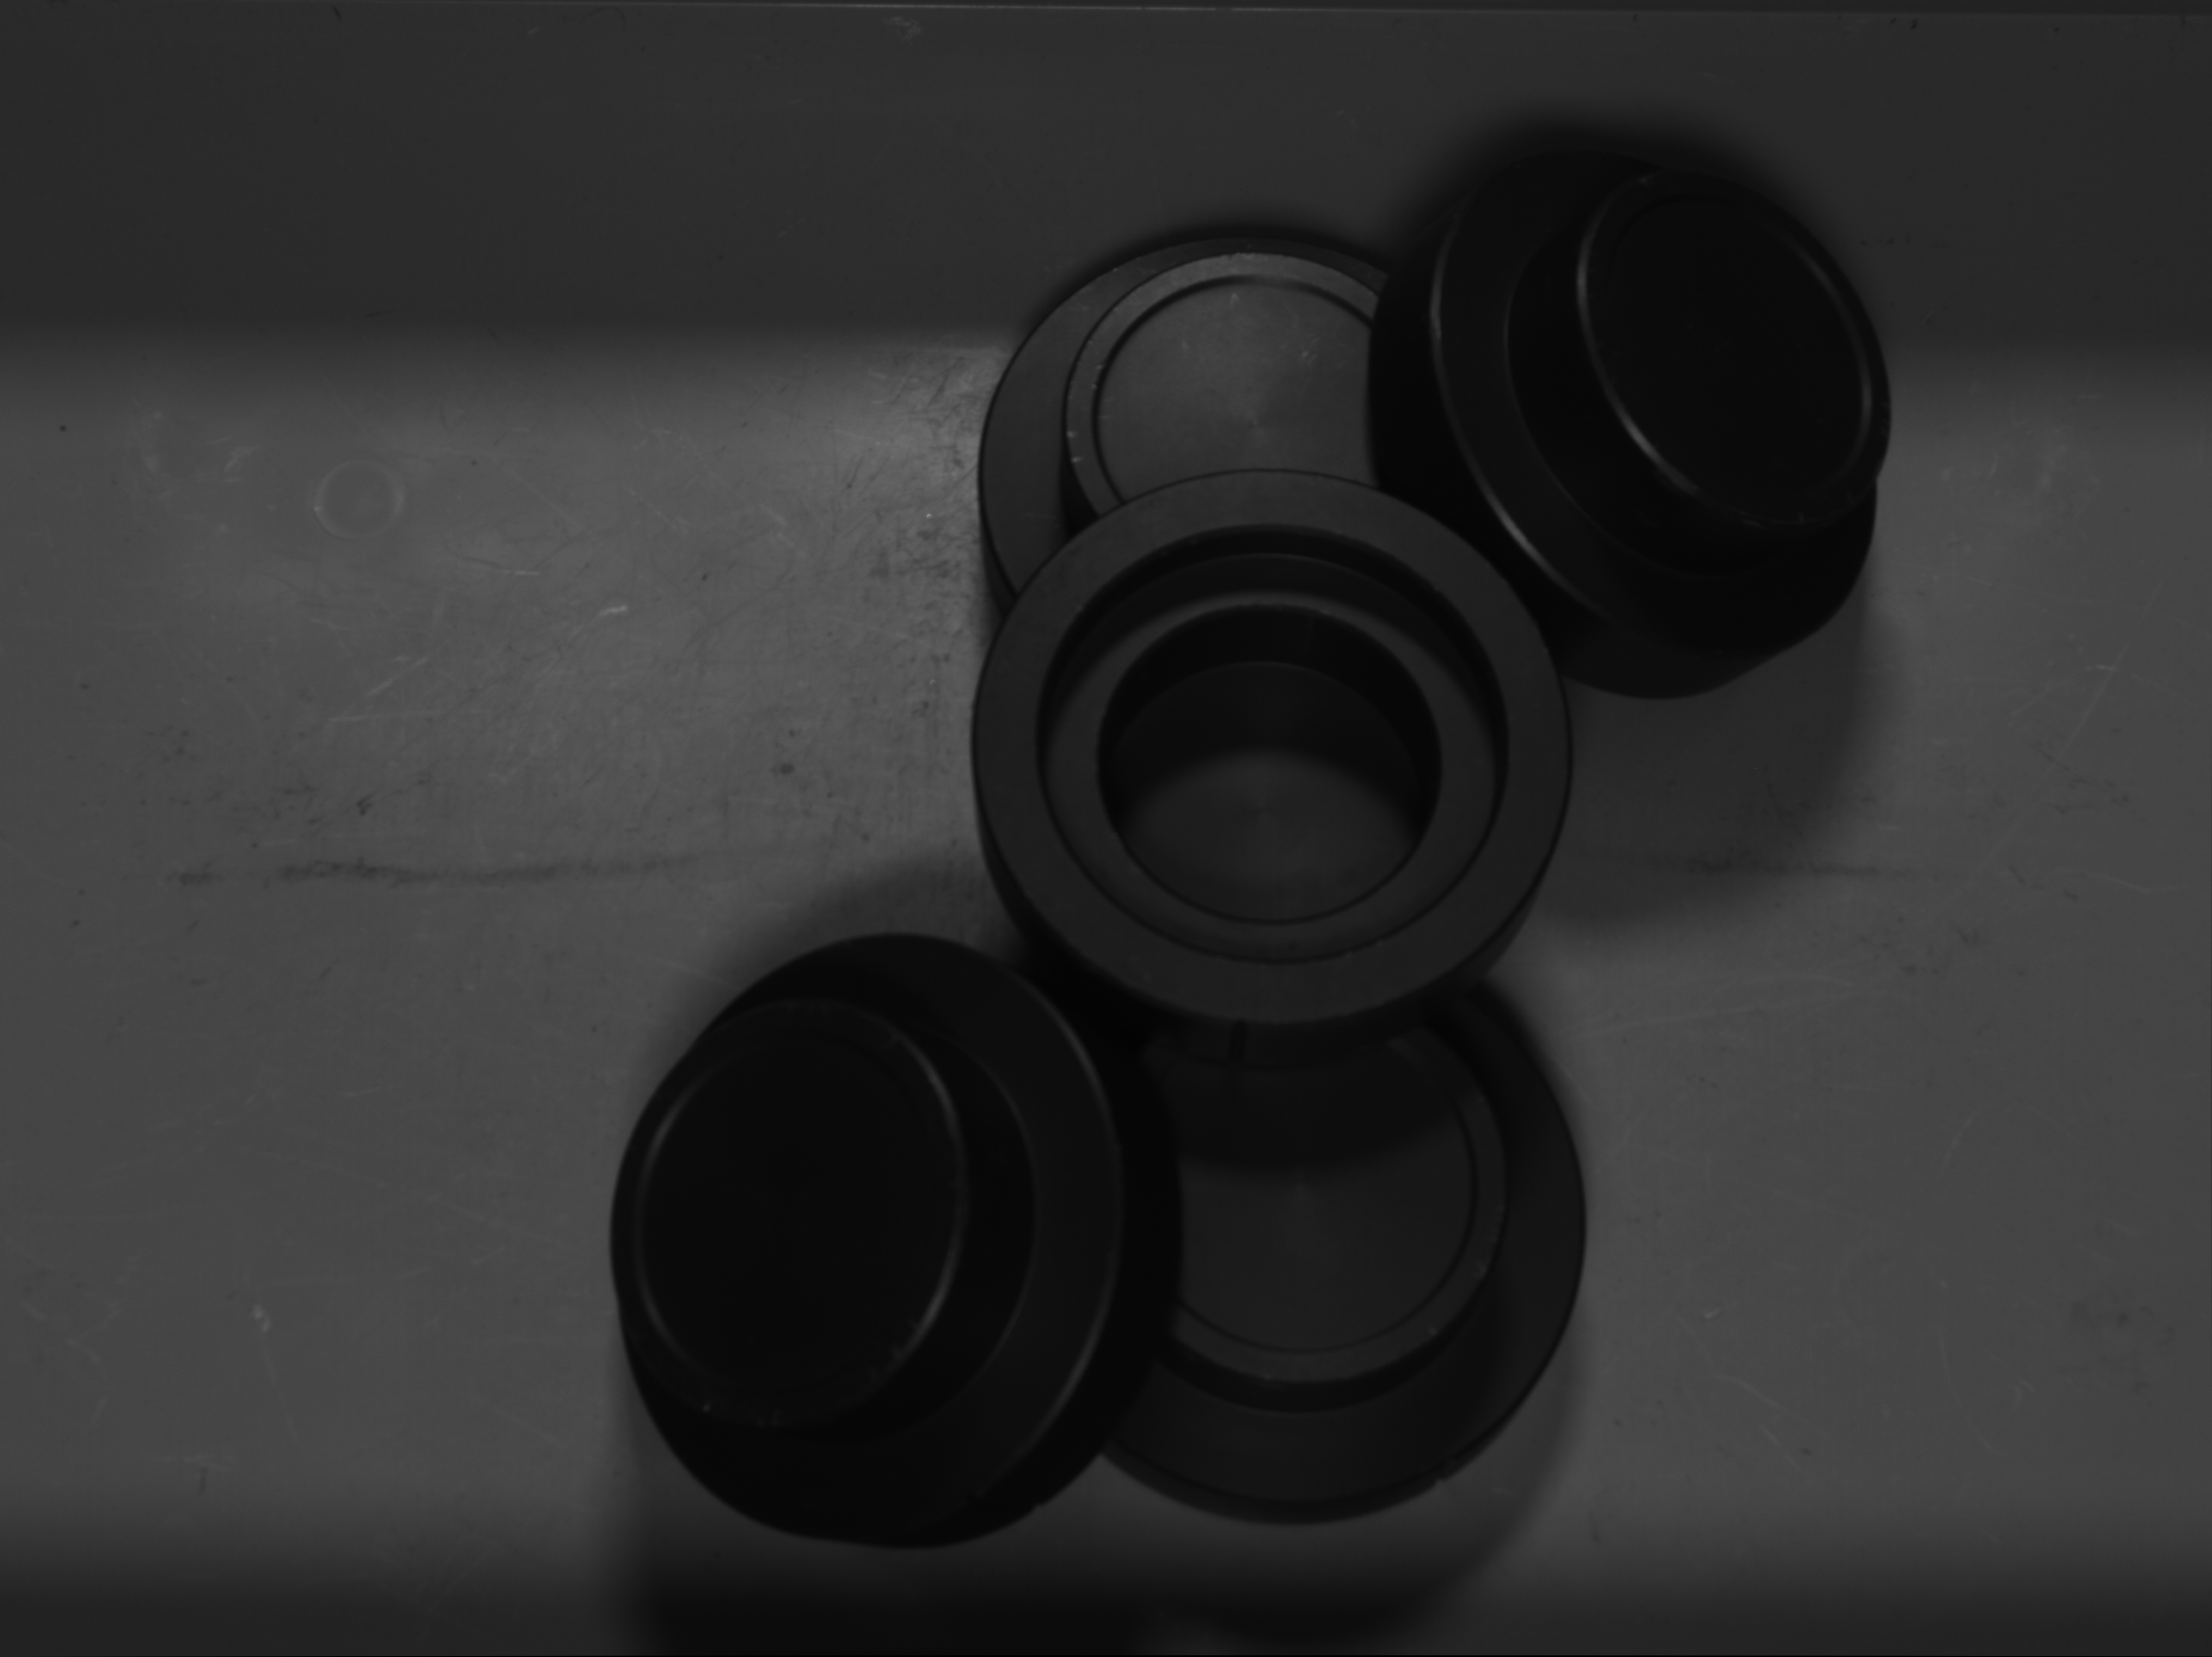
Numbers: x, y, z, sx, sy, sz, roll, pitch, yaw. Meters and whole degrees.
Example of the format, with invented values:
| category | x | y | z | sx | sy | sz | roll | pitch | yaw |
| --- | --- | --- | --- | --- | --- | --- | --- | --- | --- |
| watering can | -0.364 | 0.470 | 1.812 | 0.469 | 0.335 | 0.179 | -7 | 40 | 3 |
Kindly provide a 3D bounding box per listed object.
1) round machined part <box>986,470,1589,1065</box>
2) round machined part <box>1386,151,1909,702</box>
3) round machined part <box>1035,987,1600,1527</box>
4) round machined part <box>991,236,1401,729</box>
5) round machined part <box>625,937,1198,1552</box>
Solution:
| category | x | y | z | sx | sy | sz | roll | pitch | yaw |
| --- | --- | --- | --- | --- | --- | --- | --- | --- | --- |
| round machined part | 0.029 | -0.007 | 0.614 | 0.098 | 0.042 | 0.098 | 0 | 70 | 0 |
| round machined part | 0.101 | -0.075 | 0.640 | 0.098 | 0.042 | 0.098 | 13 | 64 | -28 |
| round machined part | 0.034 | 0.064 | 0.611 | 0.098 | 0.042 | 0.098 | 0 | 70 | 0 |
| round machined part | 0.028 | -0.064 | 0.658 | 0.098 | 0.042 | 0.098 | 0 | 70 | 0 |
| round machined part | -0.038 | 0.065 | 0.588 | 0.098 | 0.042 | 0.098 | -9 | 71 | 29 |
